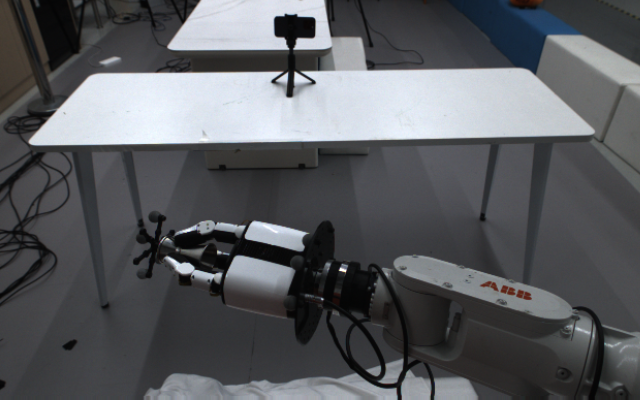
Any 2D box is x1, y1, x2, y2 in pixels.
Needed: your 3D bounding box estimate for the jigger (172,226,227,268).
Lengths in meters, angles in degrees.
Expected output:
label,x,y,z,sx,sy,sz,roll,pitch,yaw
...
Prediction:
label,x,y,z,sx,sy,sz,roll,pitch,yaw
jigger,-0.175,0.072,0.661,0.071,0.043,0.043,11,36,15
